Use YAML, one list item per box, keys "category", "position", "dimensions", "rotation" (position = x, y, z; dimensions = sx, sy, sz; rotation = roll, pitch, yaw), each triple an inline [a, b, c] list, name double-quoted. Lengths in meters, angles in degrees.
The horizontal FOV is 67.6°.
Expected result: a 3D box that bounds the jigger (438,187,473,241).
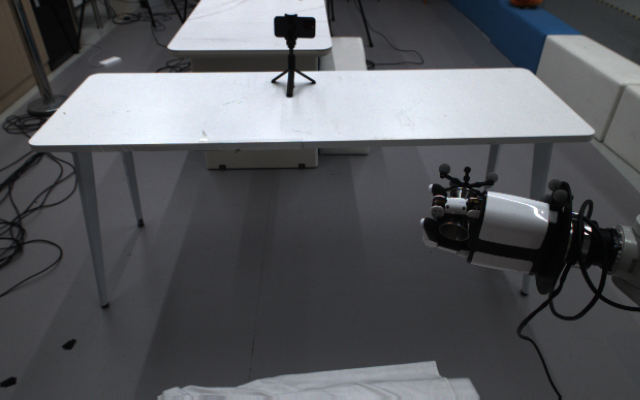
- category: "jigger"
  position: [0.206, 0.018, 0.709]
  dimensions: [0.043, 0.043, 0.071]
  rotation: [13, 58, 15]
